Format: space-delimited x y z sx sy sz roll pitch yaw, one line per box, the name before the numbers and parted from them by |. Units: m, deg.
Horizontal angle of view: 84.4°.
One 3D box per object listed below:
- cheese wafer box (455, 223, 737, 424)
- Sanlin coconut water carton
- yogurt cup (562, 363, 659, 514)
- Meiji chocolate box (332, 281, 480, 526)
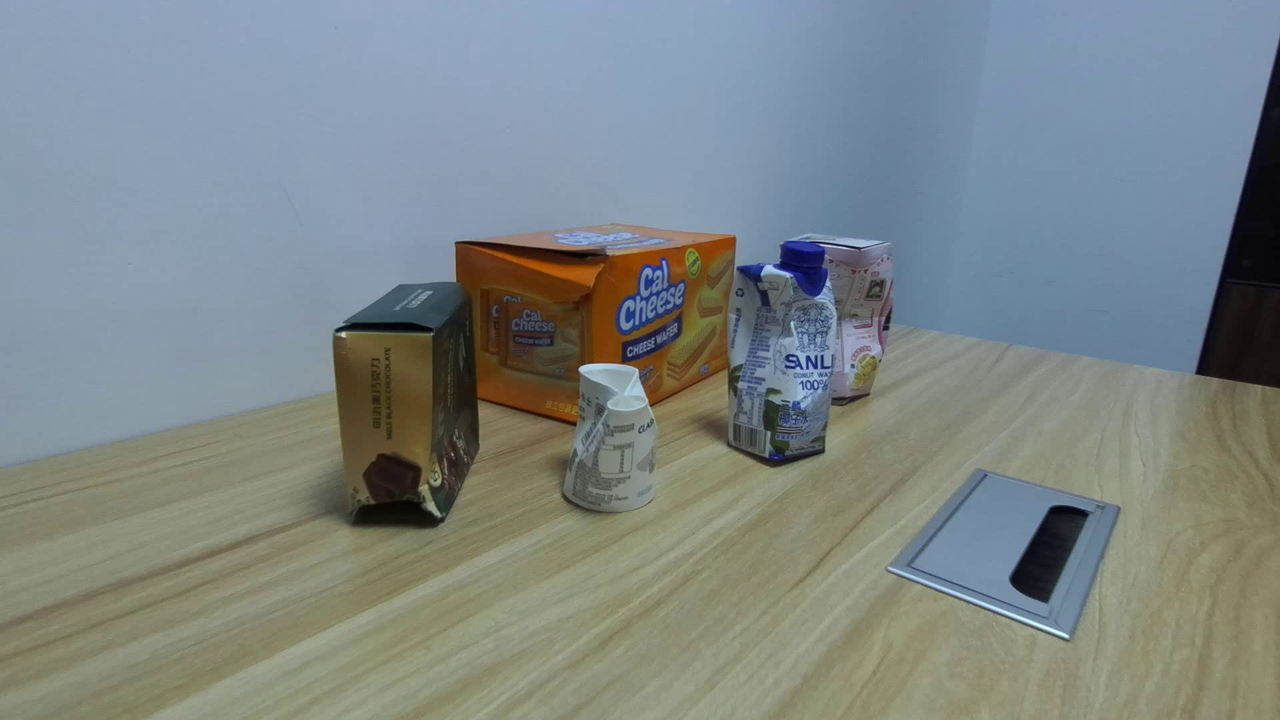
cheese wafer box | -0.028 -0.045 0.615 0.149 0.137 0.228 12 18 31
Sanlin coconut water carton | 0.097 -0.008 0.486 0.057 0.144 0.068 -2 8 -40
yogurt cup | -0.017 0.045 0.410 0.054 0.071 0.075 -14 22 -40
Meiji chocolate box | -0.133 0.020 0.414 0.058 0.116 0.122 2 15 -2
